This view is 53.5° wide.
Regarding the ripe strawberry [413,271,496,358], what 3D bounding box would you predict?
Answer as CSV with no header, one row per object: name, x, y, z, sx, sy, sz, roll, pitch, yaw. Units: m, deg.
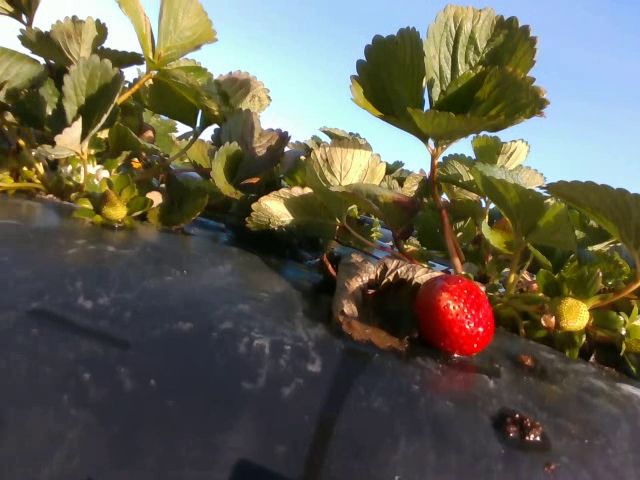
ripe strawberry,0.051,0.029,0.240,0.046,0.038,0.054,36,6,25
